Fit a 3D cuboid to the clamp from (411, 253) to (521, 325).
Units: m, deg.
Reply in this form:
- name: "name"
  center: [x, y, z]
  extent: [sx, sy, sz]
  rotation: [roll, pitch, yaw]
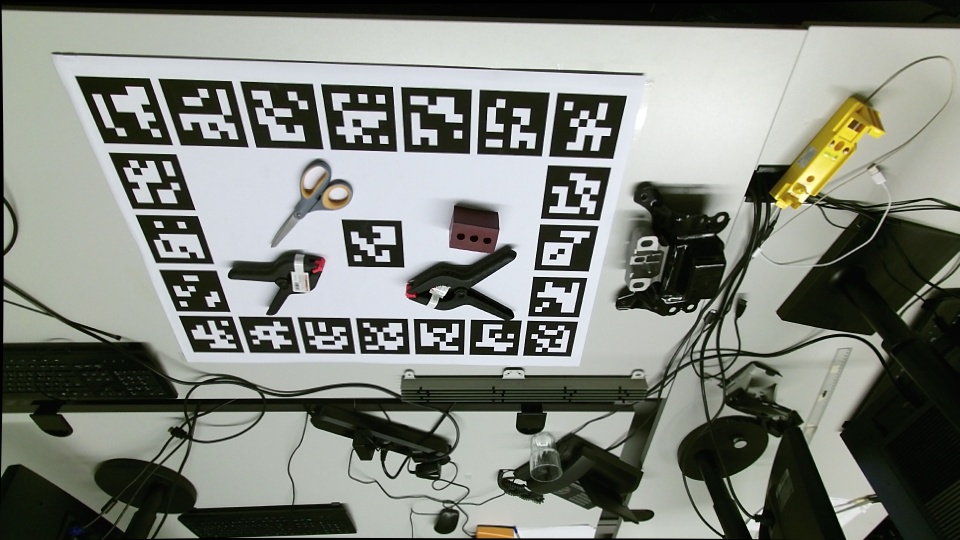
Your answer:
- name: "clamp"
  center: [-0.026, 0.041, 0.990]
  extent: [0.203, 0.036, 0.165]
  rotation: [-2, 129, 0]

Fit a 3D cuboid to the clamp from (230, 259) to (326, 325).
- name: "clamp"
  center: [-0.352, 0.027, 0.973]
  extent: [0.165, 0.036, 0.122]
  rotation: [-23, 117, 13]

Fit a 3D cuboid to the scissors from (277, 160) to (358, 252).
- name: "scissors"
  center: [-0.284, -0.092, 0.893]
  extent: [0.088, 0.016, 0.203]
  rotation: [39, 118, -17]

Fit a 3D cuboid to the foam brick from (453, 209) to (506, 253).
- name: "foam brick"
  center: [-0.003, -0.067, 0.907]
  extent: [0.078, 0.051, 0.053]
  rotation: [5, 124, -11]
